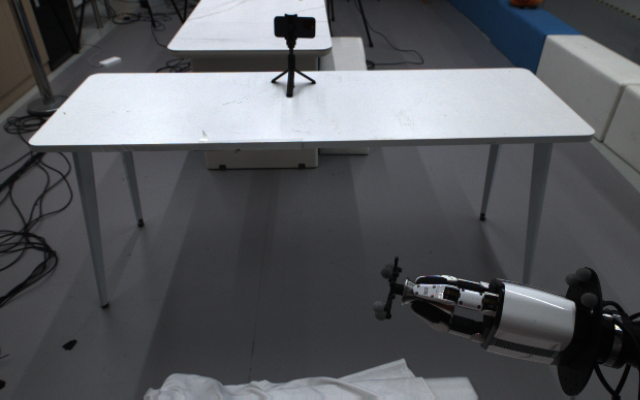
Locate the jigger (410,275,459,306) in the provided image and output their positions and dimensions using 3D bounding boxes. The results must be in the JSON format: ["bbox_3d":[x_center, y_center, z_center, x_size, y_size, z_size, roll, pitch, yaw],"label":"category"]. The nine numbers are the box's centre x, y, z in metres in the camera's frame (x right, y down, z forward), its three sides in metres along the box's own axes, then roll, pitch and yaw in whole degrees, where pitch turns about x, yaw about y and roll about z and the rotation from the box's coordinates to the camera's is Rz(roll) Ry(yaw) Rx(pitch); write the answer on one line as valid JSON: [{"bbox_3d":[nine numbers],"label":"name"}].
[{"bbox_3d":[0.155,0.126,0.655,0.071,0.043,0.043,10,35,16],"label":"jigger"}]
